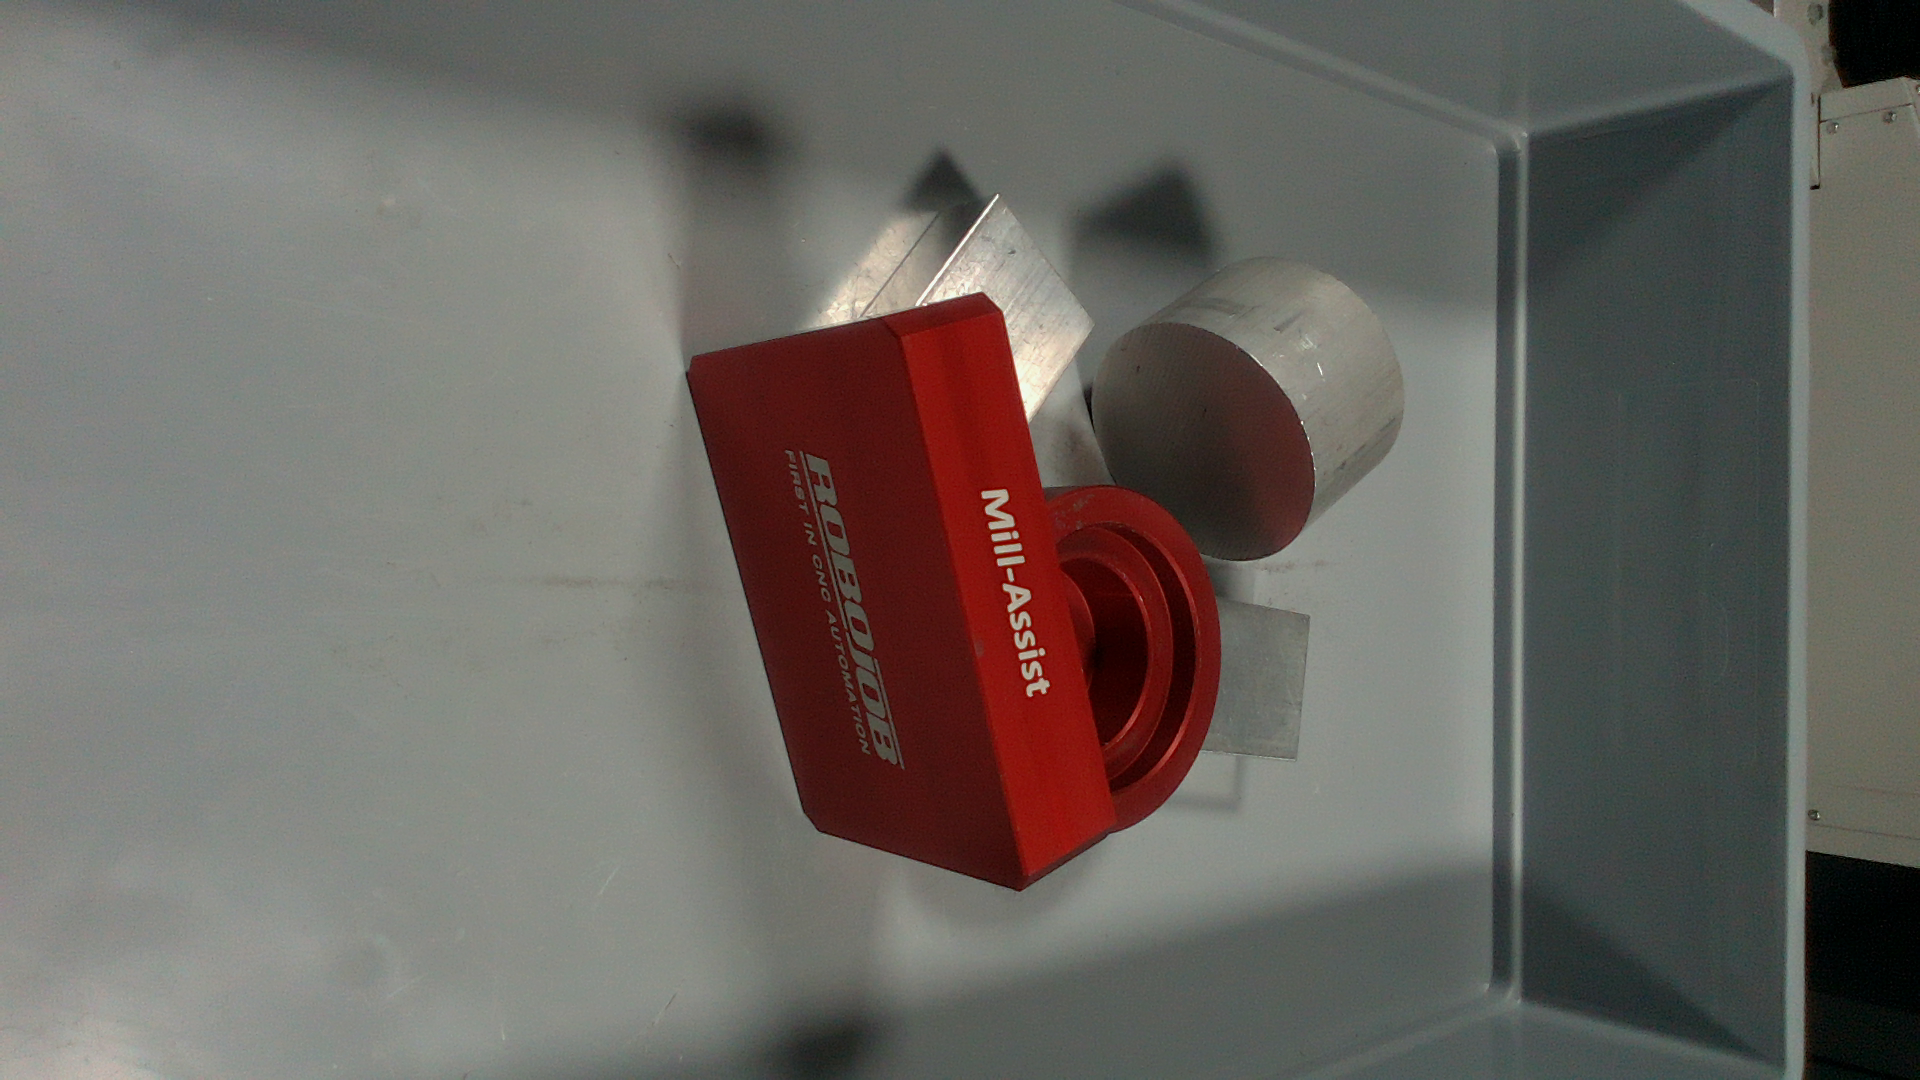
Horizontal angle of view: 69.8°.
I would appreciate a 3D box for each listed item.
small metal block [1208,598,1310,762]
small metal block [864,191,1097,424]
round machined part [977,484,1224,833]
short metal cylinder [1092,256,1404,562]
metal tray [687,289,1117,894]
[{"bbox_3d":[0.090,0.046,0.462,0.050,0.025,0.050,12,82,-38],"label":"small metal block"},{"bbox_3d":[0.005,-0.061,0.391,0.050,0.025,0.050,47,63,-28],"label":"small metal block"},{"bbox_3d":[0.029,0.033,0.398,0.098,0.042,0.098,0,90,-40],"label":"round machined part"},{"bbox_3d":[0.088,-0.040,0.425,0.050,0.080,0.080,-36,112,-34],"label":"short metal cylinder"},{"bbox_3d":[-0.016,0.012,0.331,0.030,0.090,0.130,-22,103,-37],"label":"metal tray"}]
